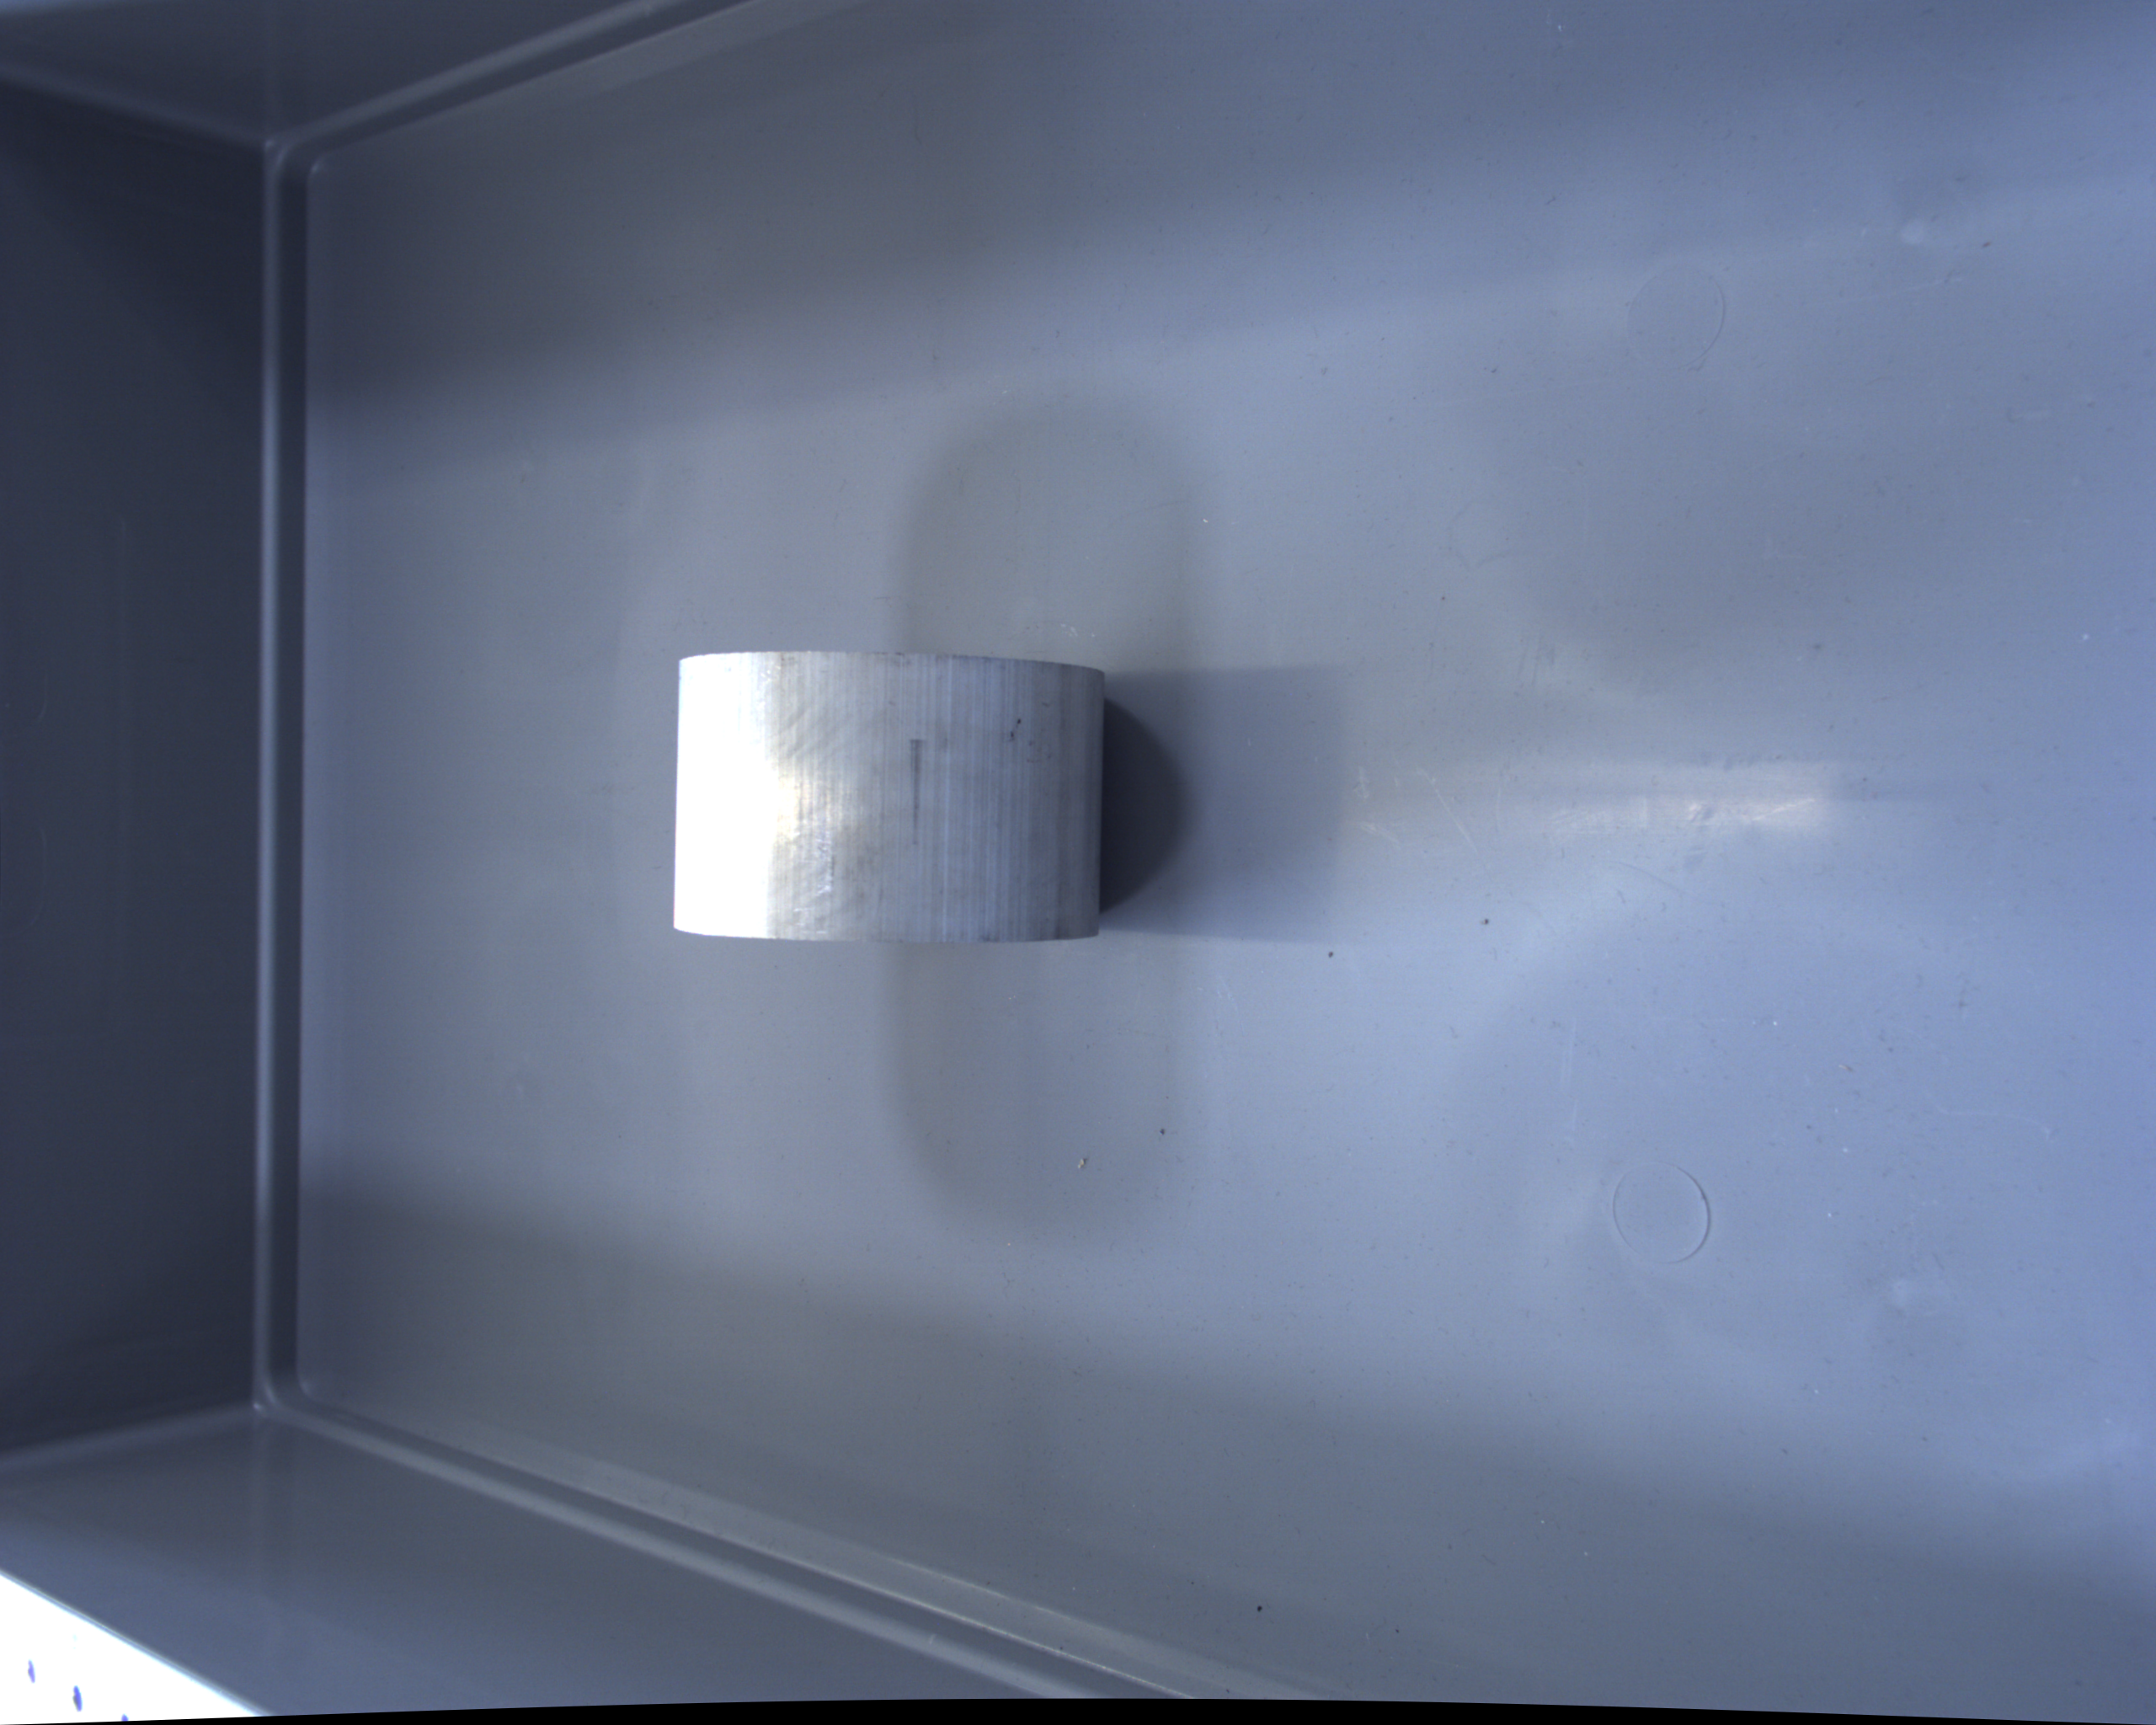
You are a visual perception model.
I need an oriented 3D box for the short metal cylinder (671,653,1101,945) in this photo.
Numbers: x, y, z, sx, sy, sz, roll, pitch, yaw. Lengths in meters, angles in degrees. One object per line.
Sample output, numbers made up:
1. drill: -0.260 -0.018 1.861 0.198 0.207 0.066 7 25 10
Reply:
1. short metal cylinder: -0.036 -0.012 0.398 0.080 0.081 0.050 3 92 40
